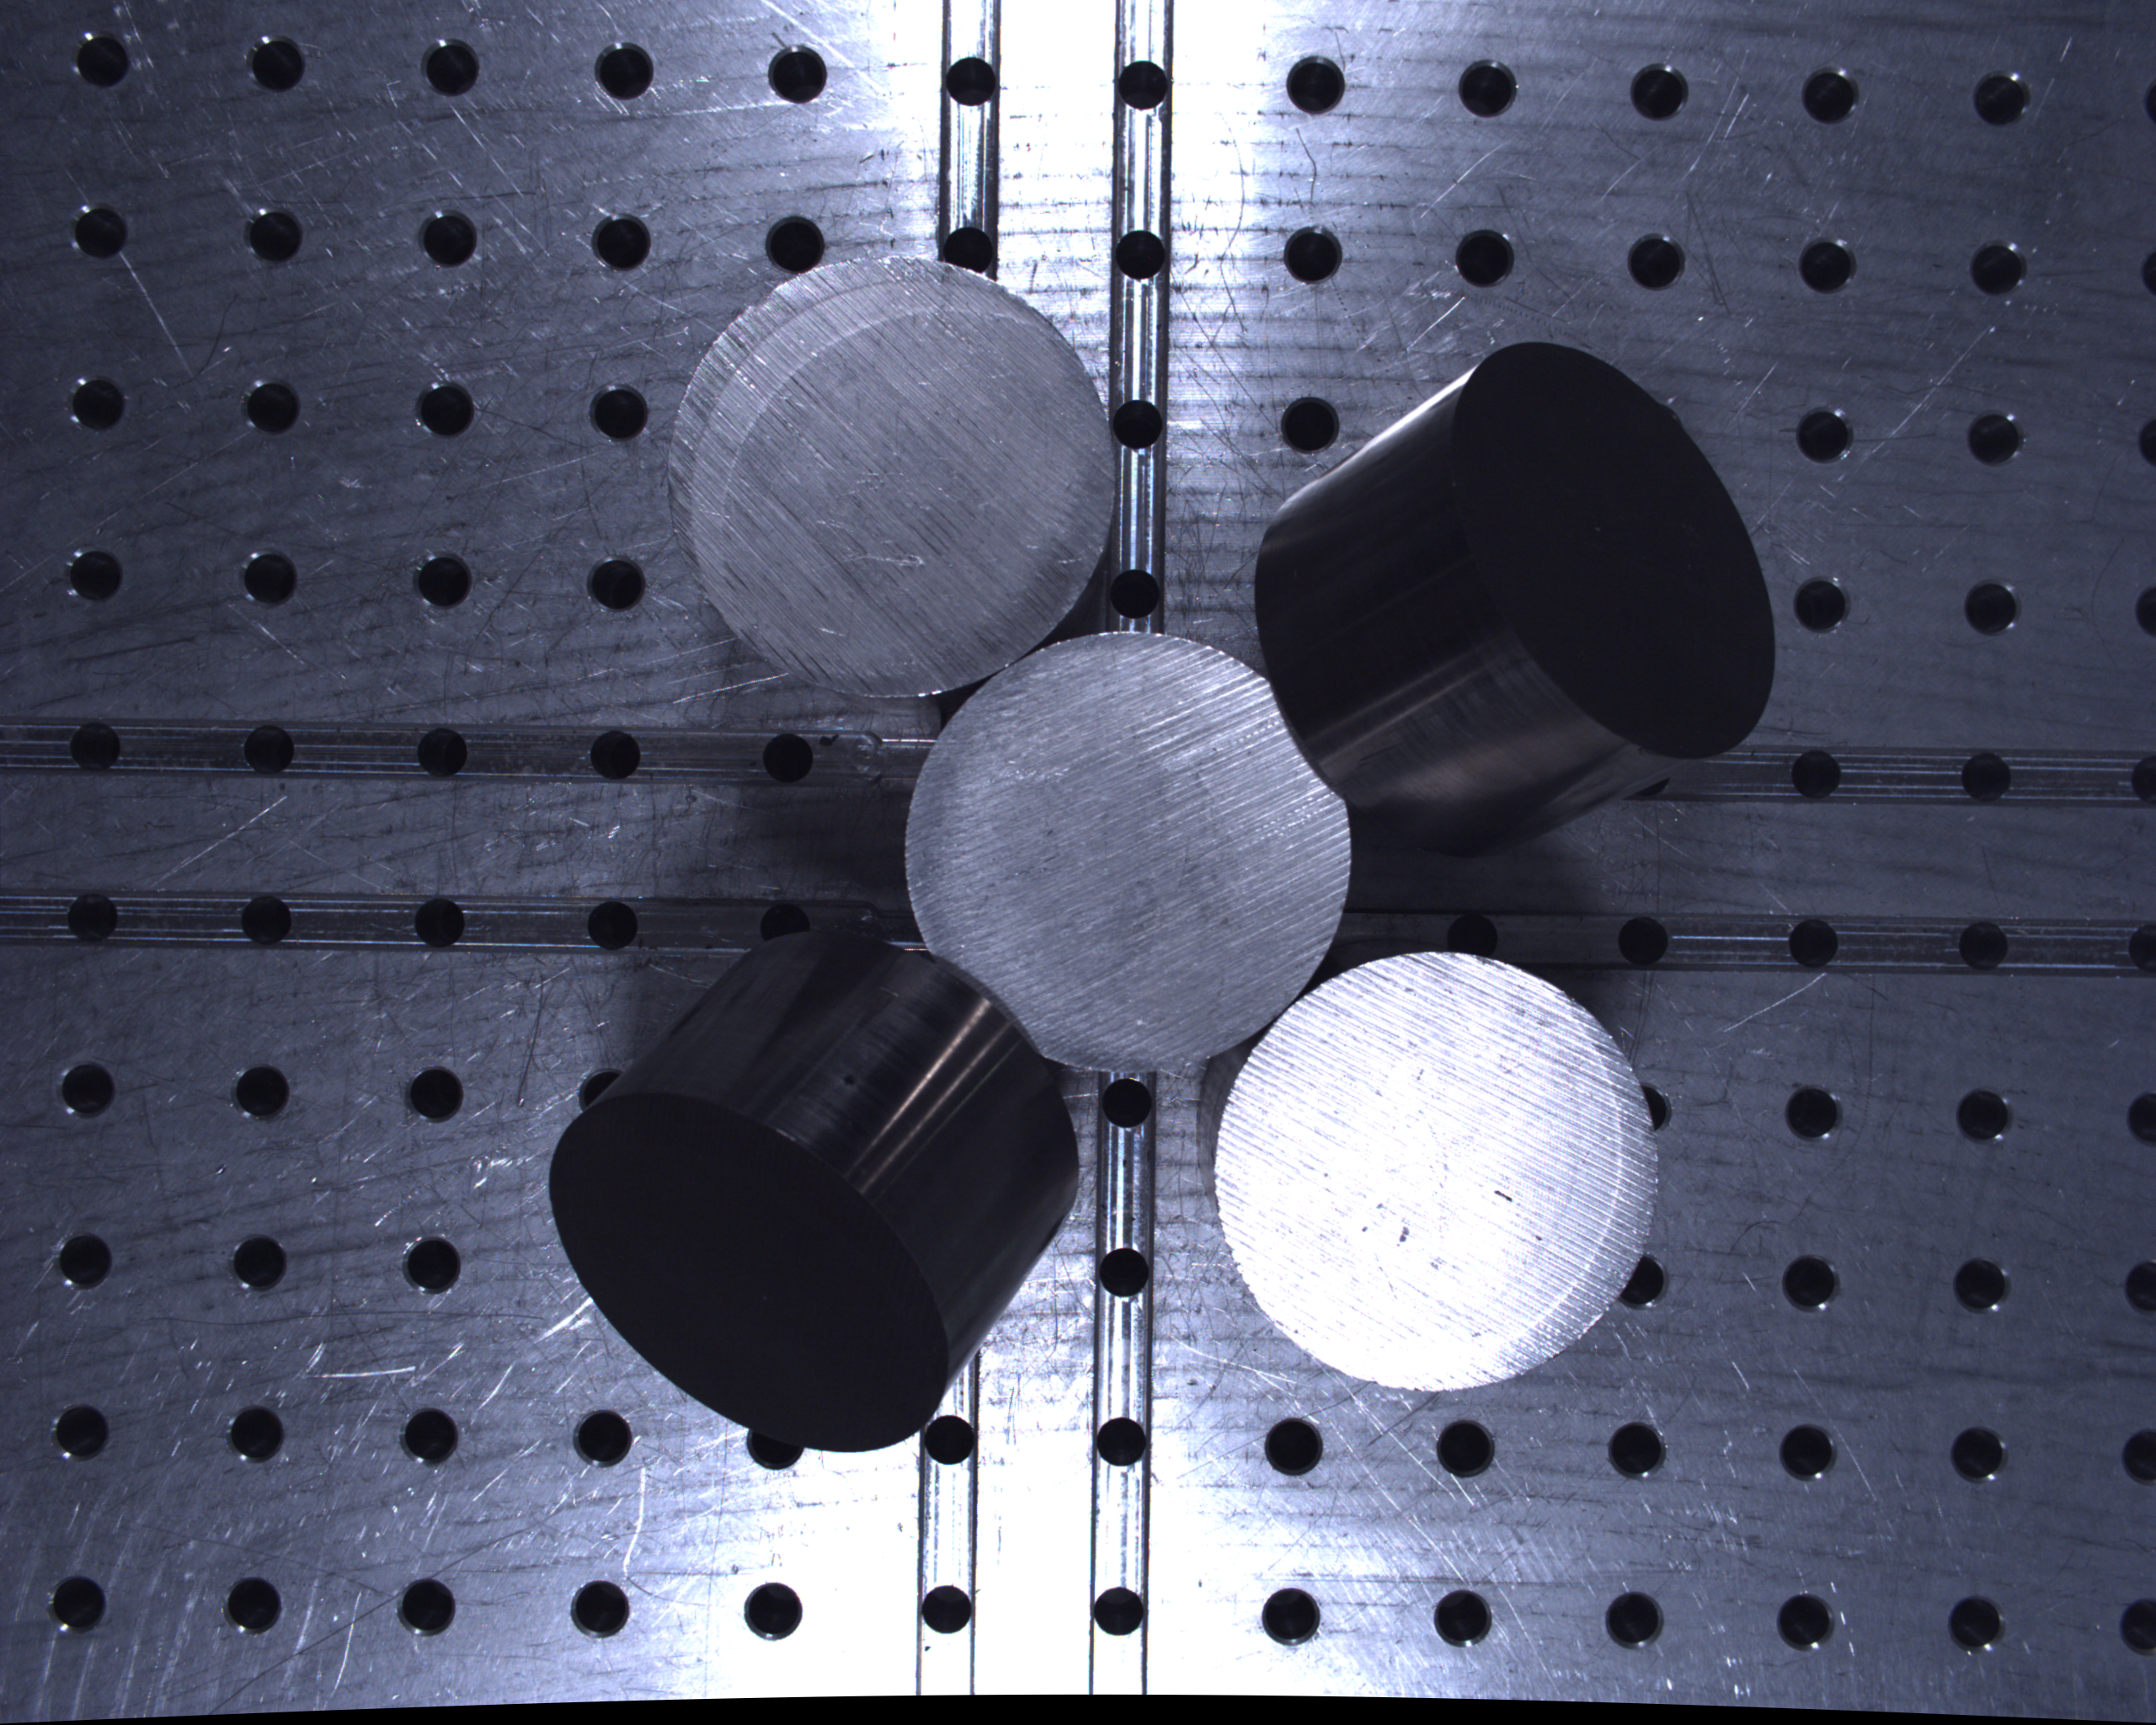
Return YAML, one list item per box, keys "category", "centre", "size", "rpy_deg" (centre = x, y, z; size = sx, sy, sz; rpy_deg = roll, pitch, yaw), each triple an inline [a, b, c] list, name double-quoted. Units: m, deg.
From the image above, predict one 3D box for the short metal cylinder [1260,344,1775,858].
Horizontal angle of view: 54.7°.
- category: "short metal cylinder"
  centre: [0.080, -0.047, 0.382]
  size: [0.081, 0.050, 0.080]
  rpy_deg: [16, 61, -31]

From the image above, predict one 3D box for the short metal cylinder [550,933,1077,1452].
- category: "short metal cylinder"
  centre: [-0.047, 0.060, 0.380]
  size: [0.080, 0.050, 0.079]
  rpy_deg: [15, 127, 21]

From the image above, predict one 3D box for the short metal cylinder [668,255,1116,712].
- category: "short metal cylinder"
  centre: [-0.034, -0.070, 0.400]
  size: [0.081, 0.050, 0.079]
  rpy_deg: [0, 90, -1]

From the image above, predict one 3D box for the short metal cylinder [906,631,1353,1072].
- category: "short metal cylinder"
  centre: [0.009, -0.002, 0.401]
  size: [0.081, 0.050, 0.079]
  rpy_deg: [0, 90, -1]

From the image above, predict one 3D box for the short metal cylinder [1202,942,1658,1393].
- category: "short metal cylinder"
  centre: [0.065, 0.056, 0.402]
  size: [0.081, 0.050, 0.079]
  rpy_deg: [0, 90, -1]
